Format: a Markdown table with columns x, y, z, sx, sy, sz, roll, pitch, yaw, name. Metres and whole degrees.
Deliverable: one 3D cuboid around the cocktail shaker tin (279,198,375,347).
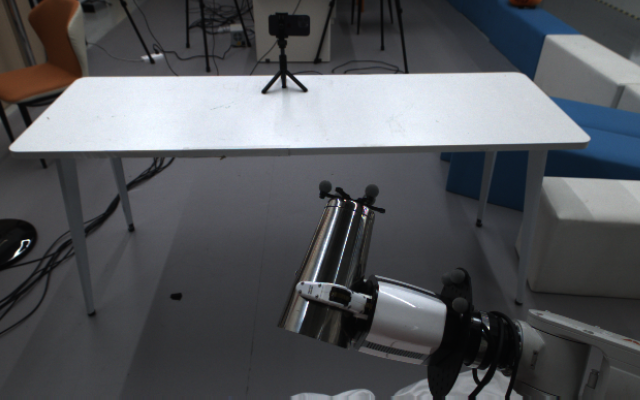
| x | y | z | sx | sy | sz | roll | pitch | yaw | name |
| --- | --- | --- | --- | --- | --- | --- | --- | --- | --- |
| 0.016 | 0.089 | 0.606 | 0.093 | 0.093 | 0.170 | 13 | 74 | 15 | cocktail shaker tin |
